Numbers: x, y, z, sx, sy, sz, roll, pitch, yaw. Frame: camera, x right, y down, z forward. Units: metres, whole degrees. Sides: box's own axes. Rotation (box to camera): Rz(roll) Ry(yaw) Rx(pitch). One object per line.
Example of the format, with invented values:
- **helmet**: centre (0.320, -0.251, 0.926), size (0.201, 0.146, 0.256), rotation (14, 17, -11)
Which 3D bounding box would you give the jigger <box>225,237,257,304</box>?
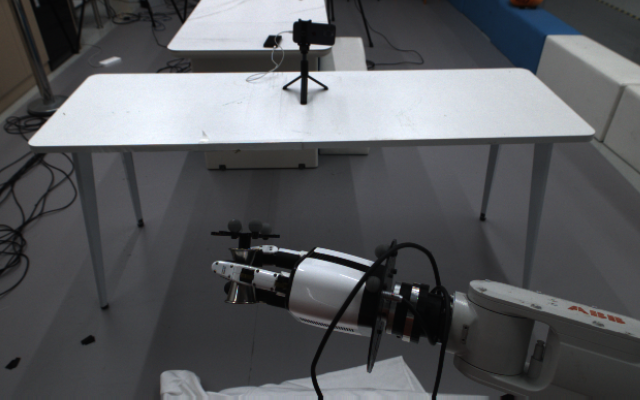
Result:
- **jigger**: centre (-0.097, 0.096, 0.618), size (0.043, 0.071, 0.043), rotation (2, -6, 0)
